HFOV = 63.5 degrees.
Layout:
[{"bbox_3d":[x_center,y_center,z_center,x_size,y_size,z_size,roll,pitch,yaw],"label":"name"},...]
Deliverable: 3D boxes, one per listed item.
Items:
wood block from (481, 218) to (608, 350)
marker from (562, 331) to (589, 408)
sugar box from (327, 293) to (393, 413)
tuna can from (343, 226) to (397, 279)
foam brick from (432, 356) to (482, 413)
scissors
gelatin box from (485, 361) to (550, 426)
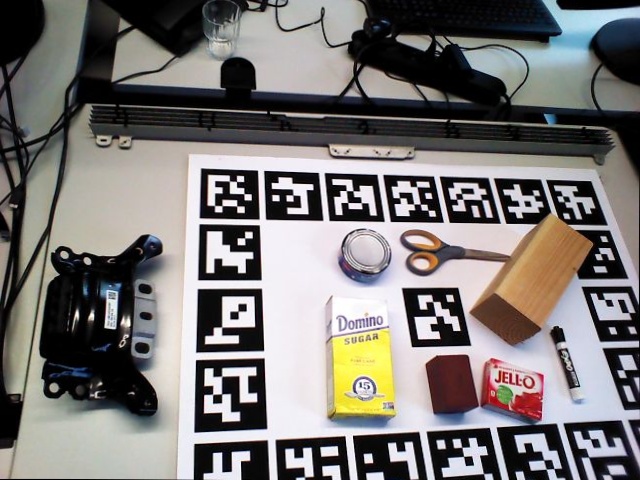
[{"bbox_3d":[0.375,0.072,0.864,0.090,0.091,0.205,41,64,13],"label":"wood block"},{"bbox_3d":[0.412,0.207,0.836,0.019,0.020,0.120,3,65,-7],"label":"marker"},{"bbox_3d":[0.062,0.171,0.788,0.093,0.045,0.175,7,63,-7],"label":"sugar box"},{"bbox_3d":[0.083,0.022,0.869,0.086,0.034,0.085,3,64,-7],"label":"tuna can"},{"bbox_3d":[0.205,0.218,0.777,0.053,0.051,0.077,4,64,-7],"label":"foam brick"},{"bbox_3d":[0.252,0.027,0.906,0.203,0.016,0.087,8,63,-2],"label":"scissors"},{"bbox_3d":[0.305,0.237,0.800,0.089,0.030,0.073,19,63,1],"label":"gelatin box"}]
